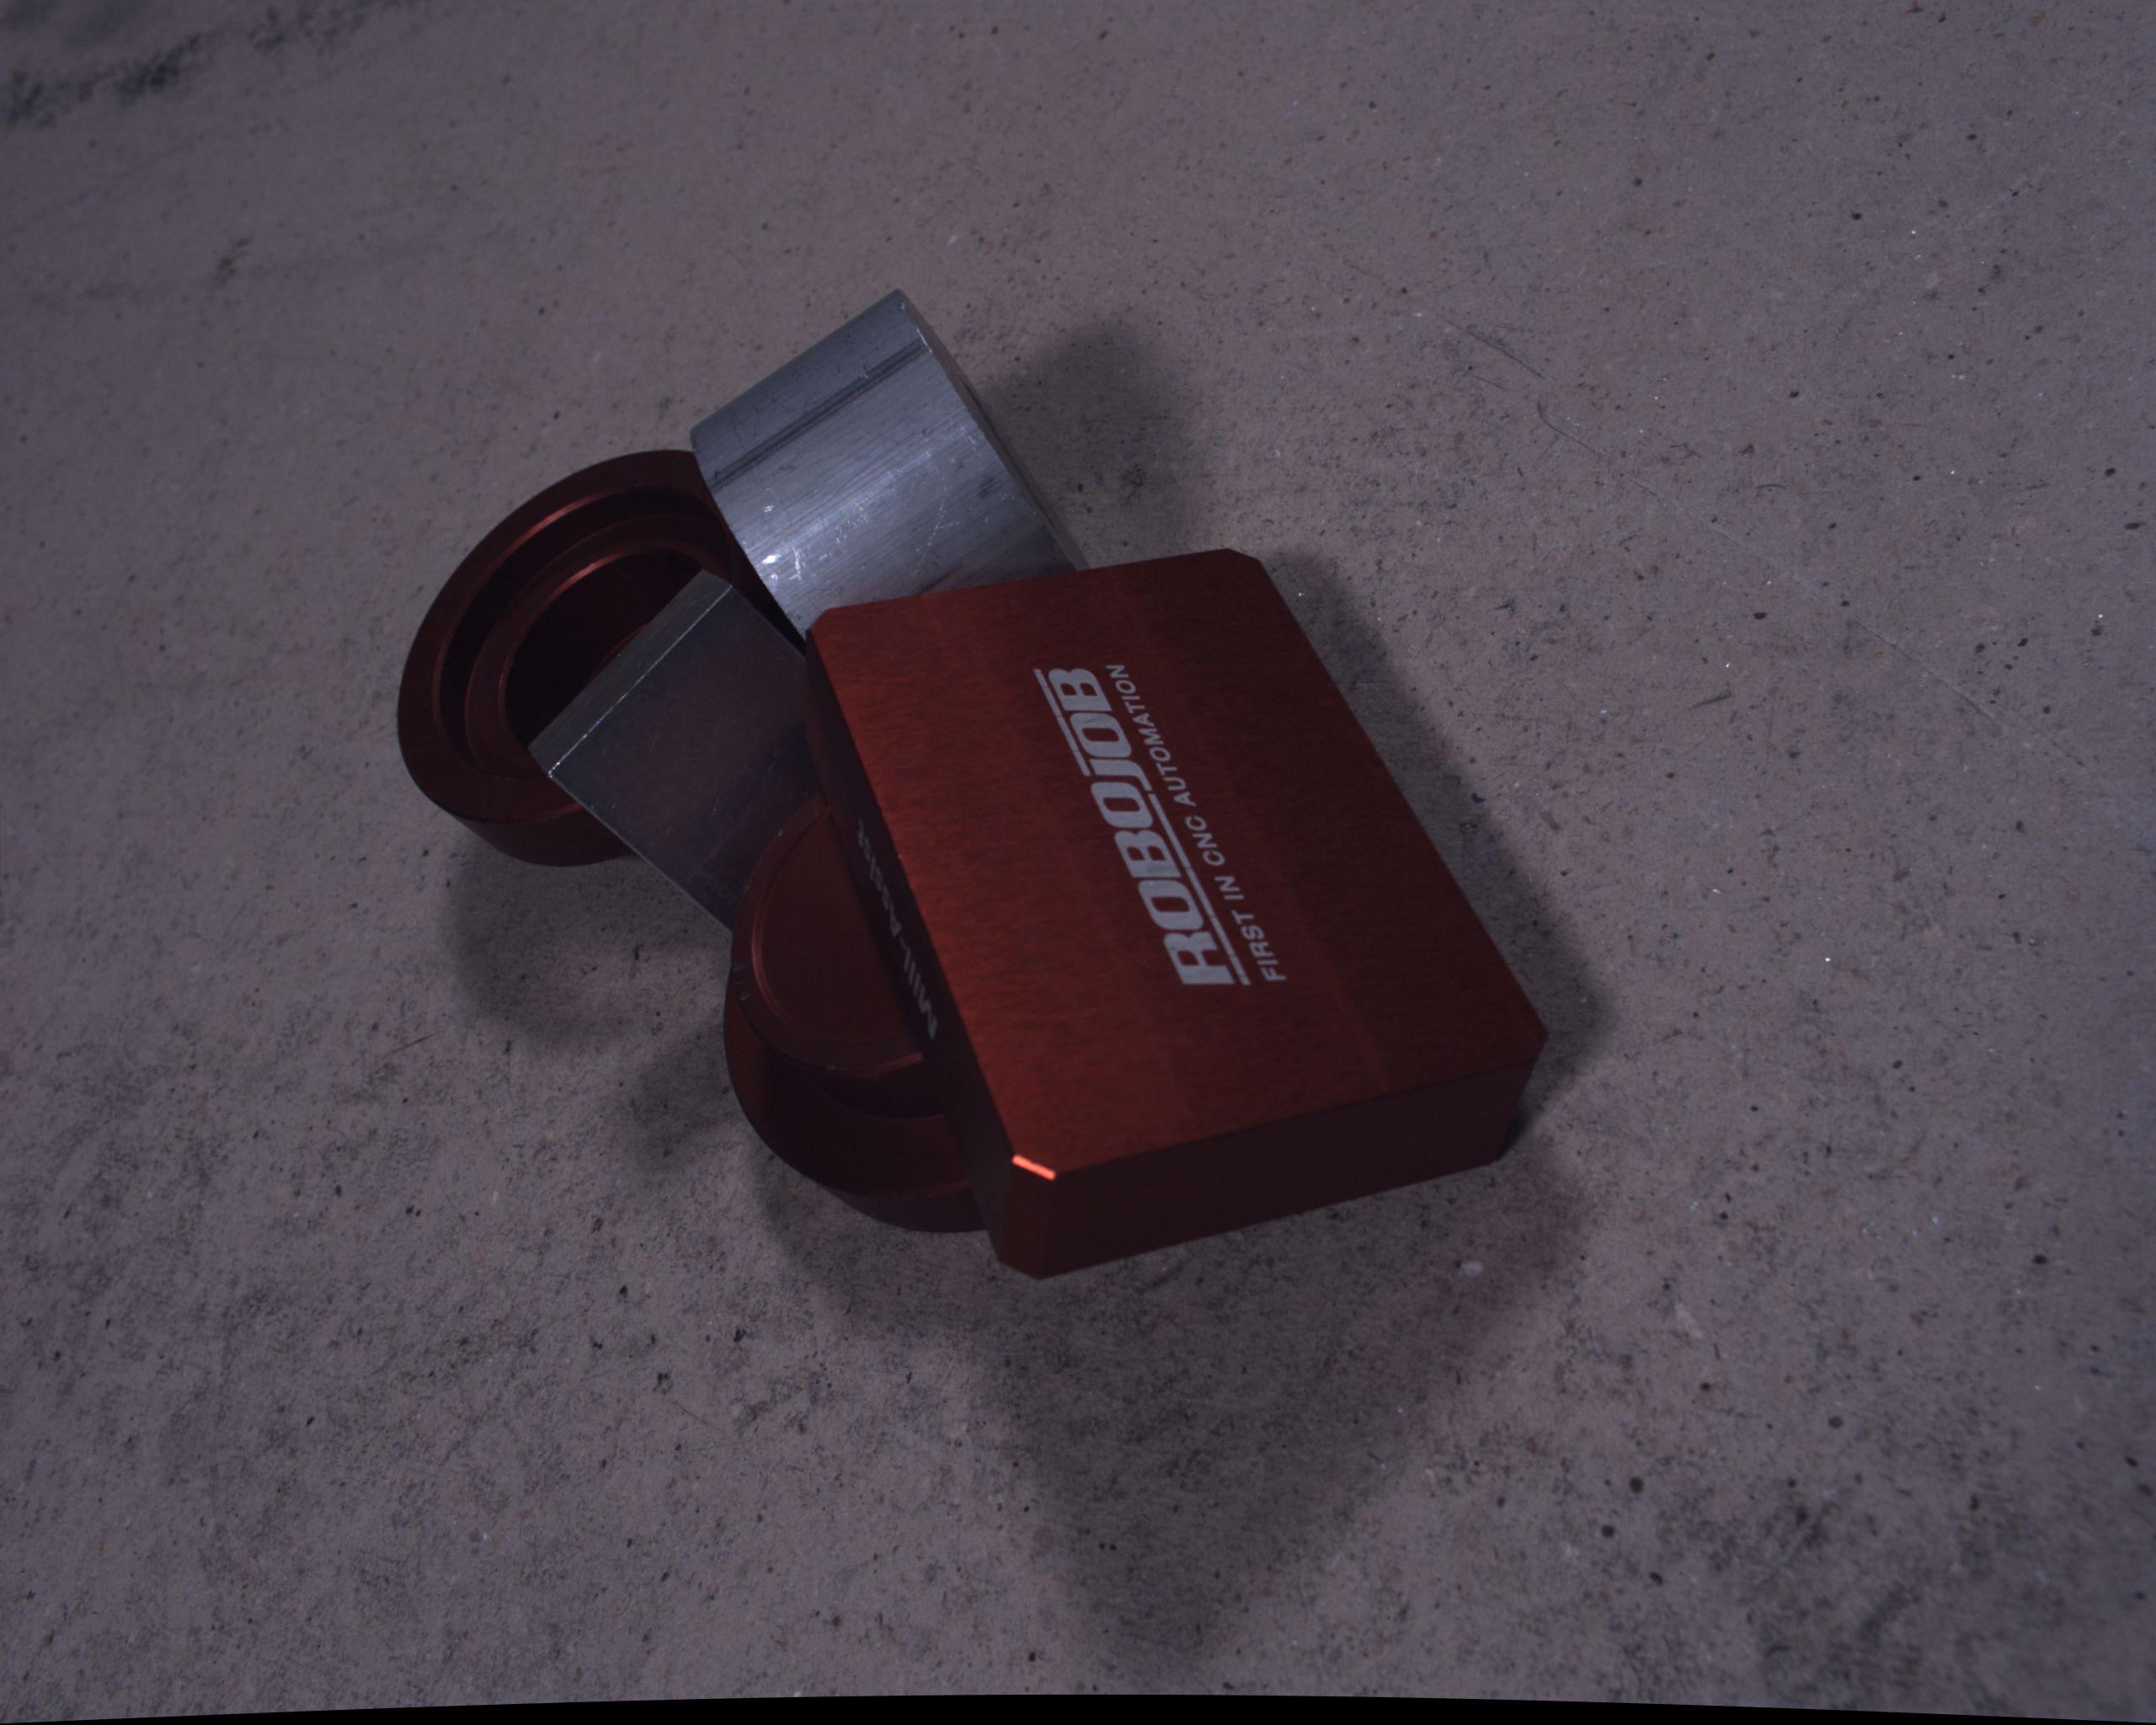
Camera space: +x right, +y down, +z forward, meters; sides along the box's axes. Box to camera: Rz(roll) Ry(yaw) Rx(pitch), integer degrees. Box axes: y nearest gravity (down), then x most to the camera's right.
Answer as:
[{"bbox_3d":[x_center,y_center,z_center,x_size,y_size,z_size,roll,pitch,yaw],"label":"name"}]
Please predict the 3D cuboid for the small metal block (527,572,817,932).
[{"bbox_3d":[-0.071,-0.022,0.415,0.050,0.050,0.025,-47,27,-6],"label":"small metal block"}]

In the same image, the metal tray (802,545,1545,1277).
[{"bbox_3d":[0.011,0.001,0.366,0.091,0.030,0.130,-11,50,-17],"label":"metal tray"}]

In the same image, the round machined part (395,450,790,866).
[{"bbox_3d":[-0.100,-0.042,0.471,0.098,0.042,0.098,-13,56,20],"label":"round machined part"}]

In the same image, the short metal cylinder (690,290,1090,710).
[{"bbox_3d":[-0.035,-0.070,0.431,0.050,0.080,0.080,-33,52,7],"label":"short metal cylinder"}]

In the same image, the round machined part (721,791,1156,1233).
[{"bbox_3d":[-0.026,0.017,0.396,0.098,0.042,0.098,-13,56,20],"label":"round machined part"}]
